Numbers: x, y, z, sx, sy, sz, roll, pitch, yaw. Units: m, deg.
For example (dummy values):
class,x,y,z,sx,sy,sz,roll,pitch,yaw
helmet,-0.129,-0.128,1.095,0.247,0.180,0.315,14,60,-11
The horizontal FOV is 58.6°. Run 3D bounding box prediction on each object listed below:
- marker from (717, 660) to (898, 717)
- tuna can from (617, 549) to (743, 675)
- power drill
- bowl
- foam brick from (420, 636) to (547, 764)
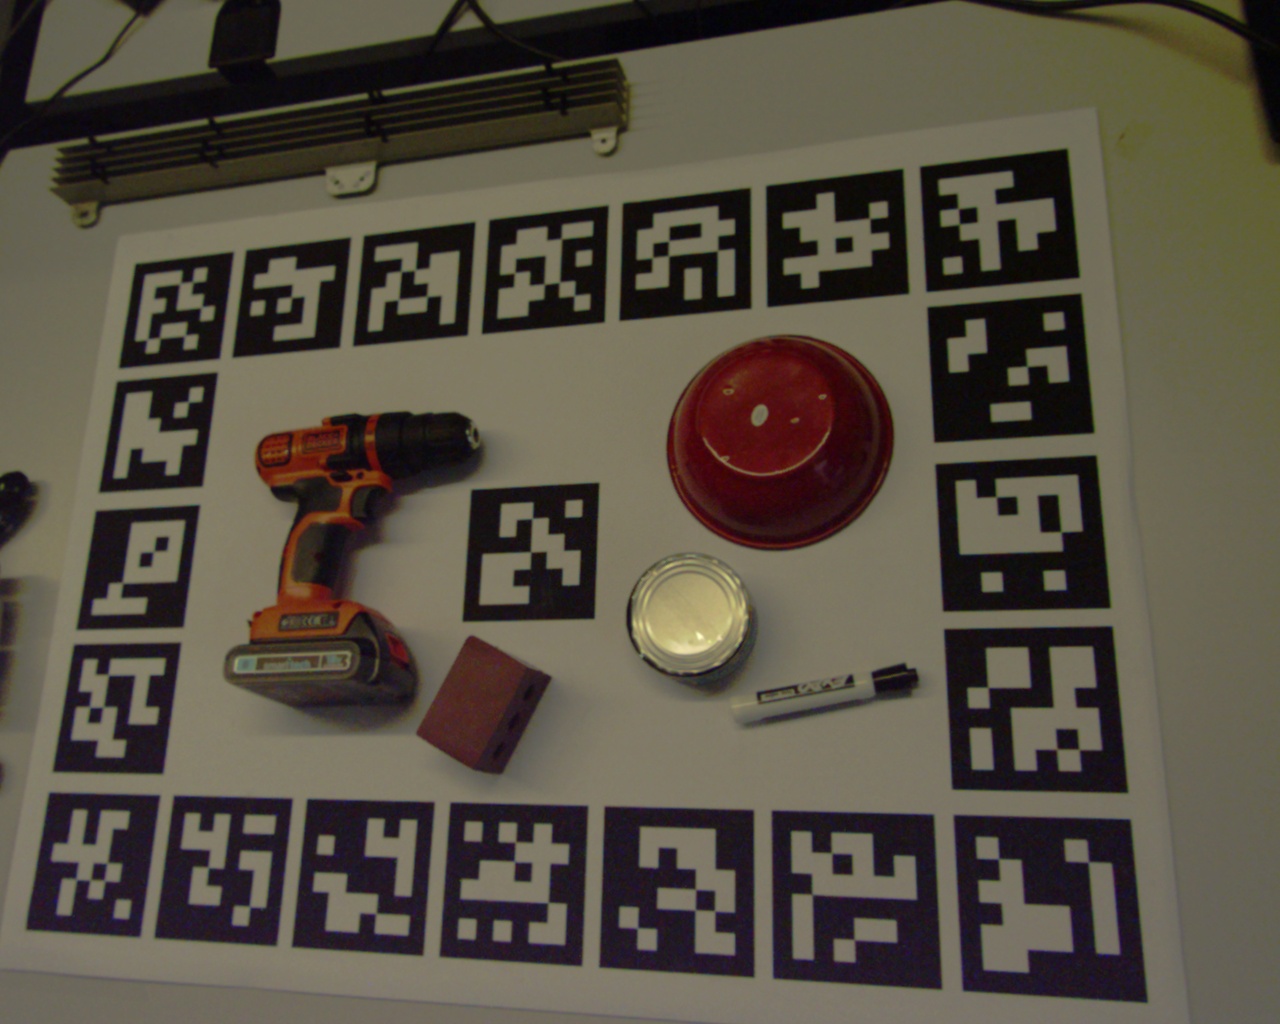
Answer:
class,x,y,z,sx,sy,sz,roll,pitch,yaw
marker,0.113,0.119,0.771,0.122,0.019,0.020,-12,73,12
tuna can,0.029,0.071,0.802,0.086,0.033,0.086,-4,74,12
power drill,-0.223,0.032,0.879,0.185,0.057,0.187,-3,71,11
bowl,0.080,-0.056,0.824,0.163,0.054,0.162,-8,66,16
foam brick,-0.113,0.137,0.822,0.052,0.052,0.078,22,83,19
